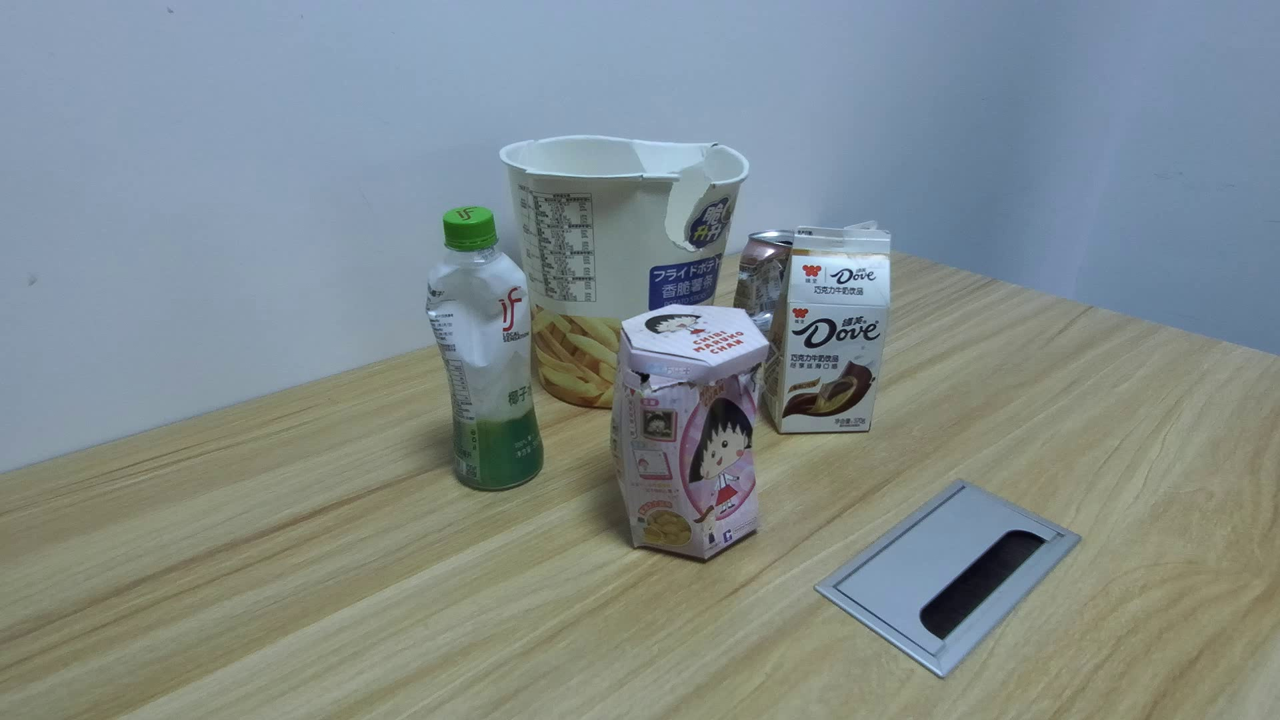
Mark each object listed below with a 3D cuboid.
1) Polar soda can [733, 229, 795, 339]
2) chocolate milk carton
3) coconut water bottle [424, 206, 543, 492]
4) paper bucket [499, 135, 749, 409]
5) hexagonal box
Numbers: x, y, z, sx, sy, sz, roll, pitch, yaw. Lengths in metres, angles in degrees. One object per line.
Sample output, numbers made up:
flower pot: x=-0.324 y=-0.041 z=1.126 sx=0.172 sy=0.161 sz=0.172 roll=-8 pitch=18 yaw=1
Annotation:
Polar soda can: x=0.124 y=-0.062 z=0.657 sx=0.070 sy=0.114 sz=0.074 roll=8 pitch=25 yaw=7
chocolate milk carton: x=0.139 y=-0.028 z=0.542 sx=0.084 sy=0.155 sz=0.073 roll=-2 pitch=27 yaw=-1
coconut water bottle: x=-0.102 y=-0.007 z=0.472 sx=0.069 sy=0.187 sz=0.069 roll=1 pitch=27 yaw=0
paper bucket: x=-0.016 y=-0.078 z=0.595 sx=0.202 sy=0.197 sz=0.146 roll=5 pitch=30 yaw=12
hexagonal box: x=0.029 y=0.043 z=0.433 sx=0.091 sy=0.134 sz=0.090 roll=-1 pitch=24 yaw=1
